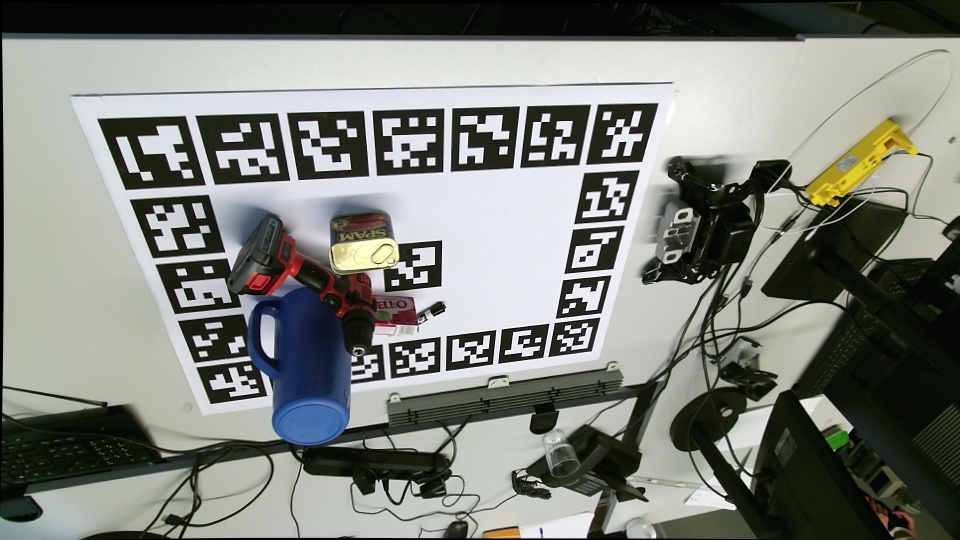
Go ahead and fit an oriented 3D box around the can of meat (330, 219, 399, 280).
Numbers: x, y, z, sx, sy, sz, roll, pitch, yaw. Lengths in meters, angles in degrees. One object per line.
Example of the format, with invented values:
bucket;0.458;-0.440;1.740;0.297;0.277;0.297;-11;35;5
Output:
can of meat;-0.181;-0.033;0.832;0.102;0.083;0.058;-6;128;-12

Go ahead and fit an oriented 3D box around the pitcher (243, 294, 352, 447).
pitcher;-0.286;0.154;0.848;0.189;0.241;0.133;22;113;-36

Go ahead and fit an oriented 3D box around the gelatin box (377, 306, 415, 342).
gelatin box;-0.164;0.093;0.938;0.090;0.073;0.030;4;119;-18

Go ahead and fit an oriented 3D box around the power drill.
power drill;-0.240;0.052;0.817;0.188;0.184;0.057;29;109;-25

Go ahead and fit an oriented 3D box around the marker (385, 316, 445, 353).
marker;-0.119;0.119;1.000;0.121;0.019;0.020;-27;127;3
